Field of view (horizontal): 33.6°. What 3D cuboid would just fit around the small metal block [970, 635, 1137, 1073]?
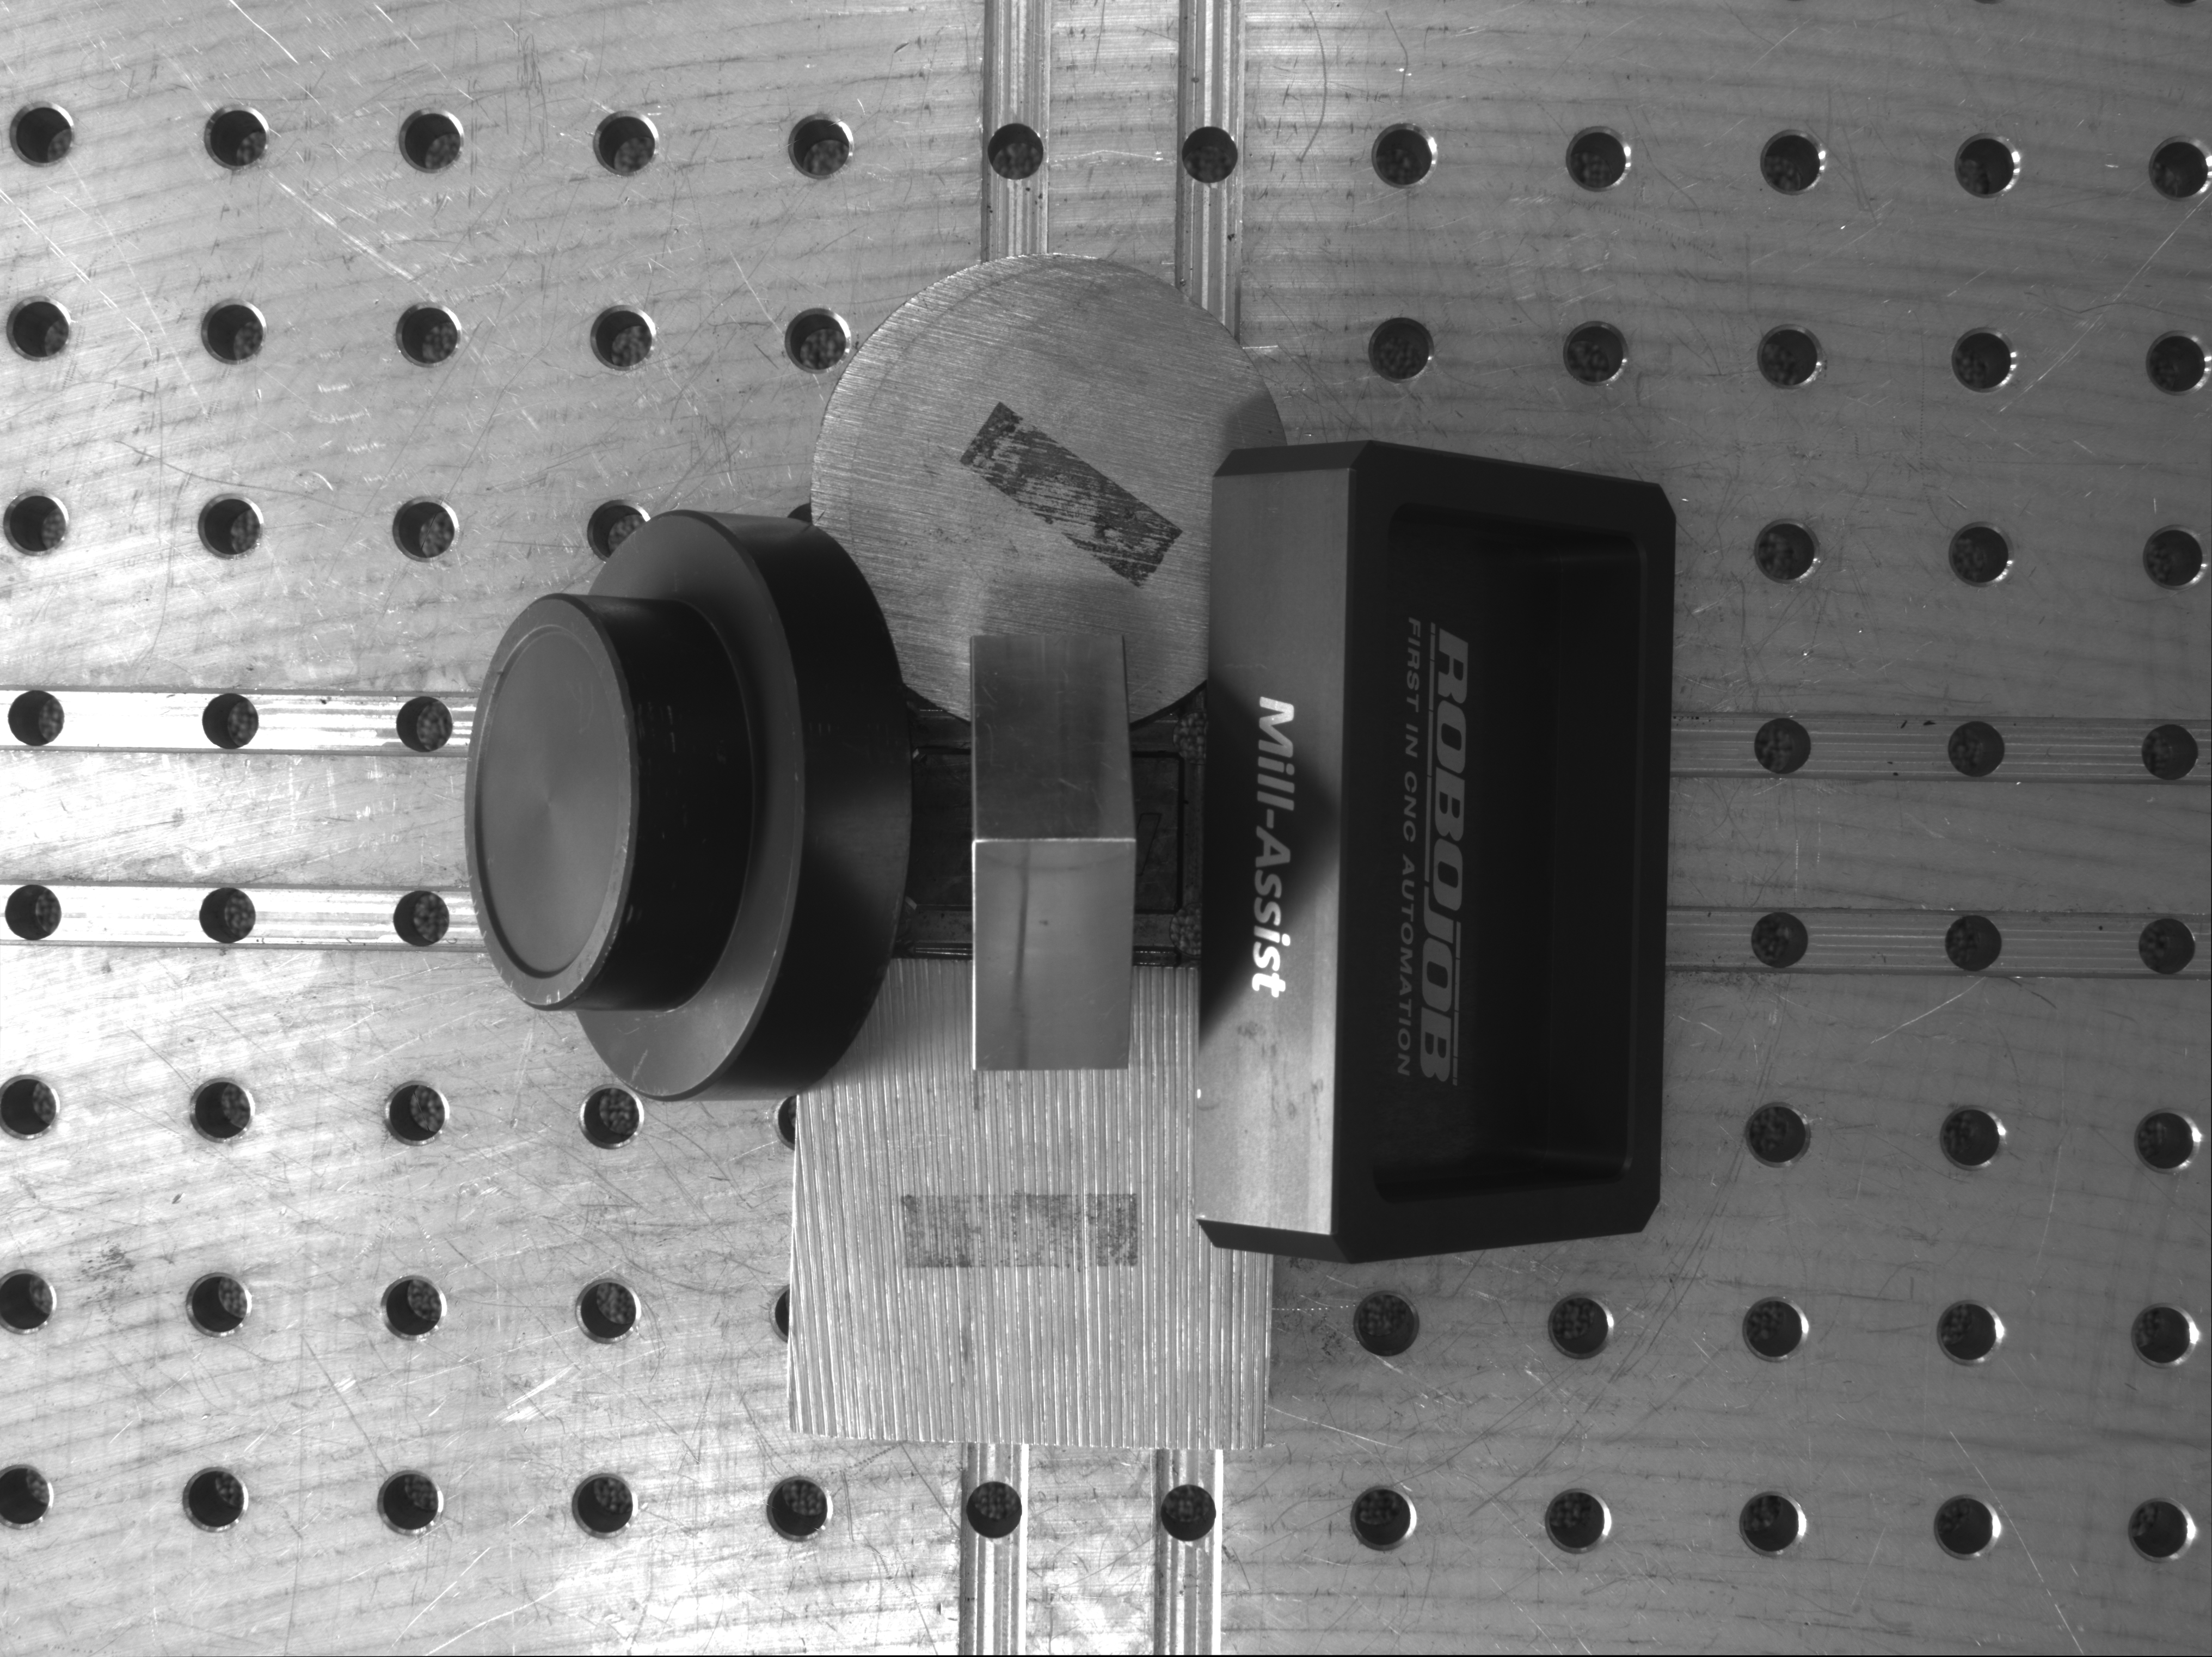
[{"bbox_3d":[-0.009,0.004,0.593,0.025,0.050,0.050,0,132,-3],"label":"small metal block"}]

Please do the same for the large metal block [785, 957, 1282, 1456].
[{"bbox_3d":[-0.012,0.063,0.635,0.080,0.050,0.080,2,90,0],"label":"large metal block"}]

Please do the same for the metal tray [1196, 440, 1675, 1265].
[{"bbox_3d":[0.057,0.004,0.617,0.030,0.090,0.130,1,90,43],"label":"metal tray"}]

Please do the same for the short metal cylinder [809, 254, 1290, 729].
[{"bbox_3d":[-0.009,-0.055,0.634,0.080,0.050,0.080,0,90,0],"label":"short metal cylinder"}]

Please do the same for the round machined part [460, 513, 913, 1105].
[{"bbox_3d":[-0.074,-0.003,0.607,0.042,0.098,0.098,2,90,-33],"label":"round machined part"}]
